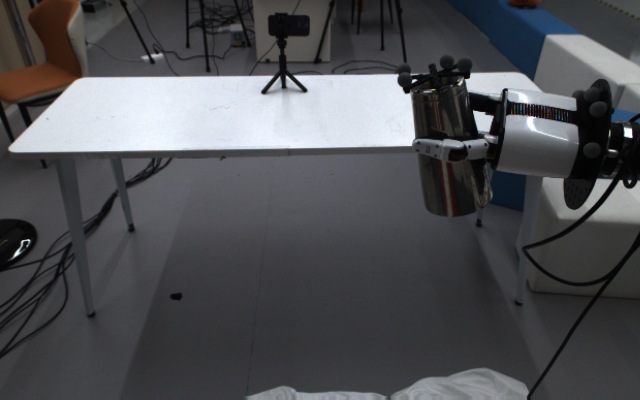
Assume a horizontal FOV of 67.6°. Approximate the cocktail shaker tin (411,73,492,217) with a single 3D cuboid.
[{"bbox_3d":[0.167,-0.075,0.631,0.093,0.170,0.093,-15,29,8],"label":"cocktail shaker tin"}]
